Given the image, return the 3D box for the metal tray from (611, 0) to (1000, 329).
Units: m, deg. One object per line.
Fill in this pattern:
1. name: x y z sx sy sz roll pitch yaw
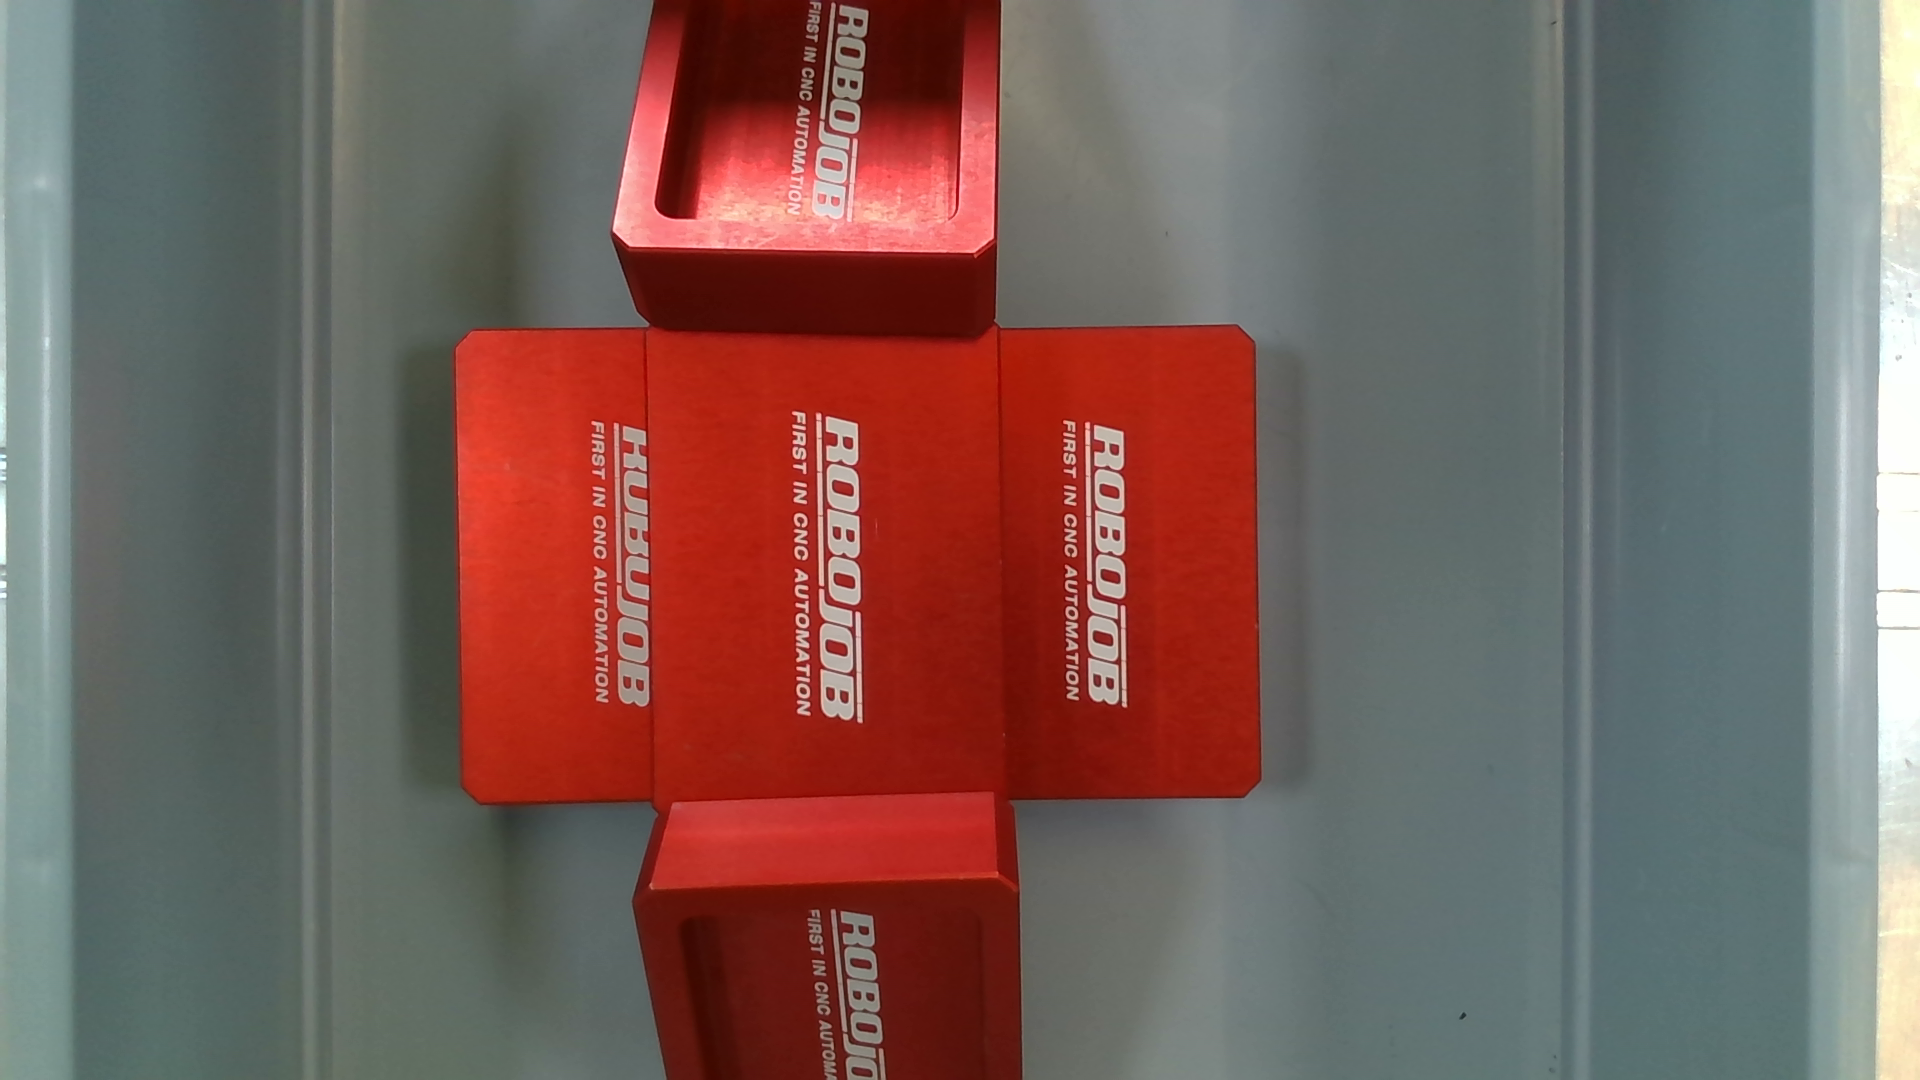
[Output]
1. metal tray: -0.035 -0.116 0.361 0.090 0.030 0.130 1 61 1

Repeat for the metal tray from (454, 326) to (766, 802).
1. metal tray: -0.093 0.006 0.391 0.090 0.030 0.130 -1 91 0

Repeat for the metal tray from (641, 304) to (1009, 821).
1. metal tray: -0.034 0.006 0.362 0.090 0.030 0.130 -1 91 0

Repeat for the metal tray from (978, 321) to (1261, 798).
1. metal tray: 0.037 0.006 0.391 0.090 0.030 0.130 -1 91 0

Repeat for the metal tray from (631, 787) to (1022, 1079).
1. metal tray: -0.029 0.126 0.361 0.090 0.030 0.130 -2 120 1
